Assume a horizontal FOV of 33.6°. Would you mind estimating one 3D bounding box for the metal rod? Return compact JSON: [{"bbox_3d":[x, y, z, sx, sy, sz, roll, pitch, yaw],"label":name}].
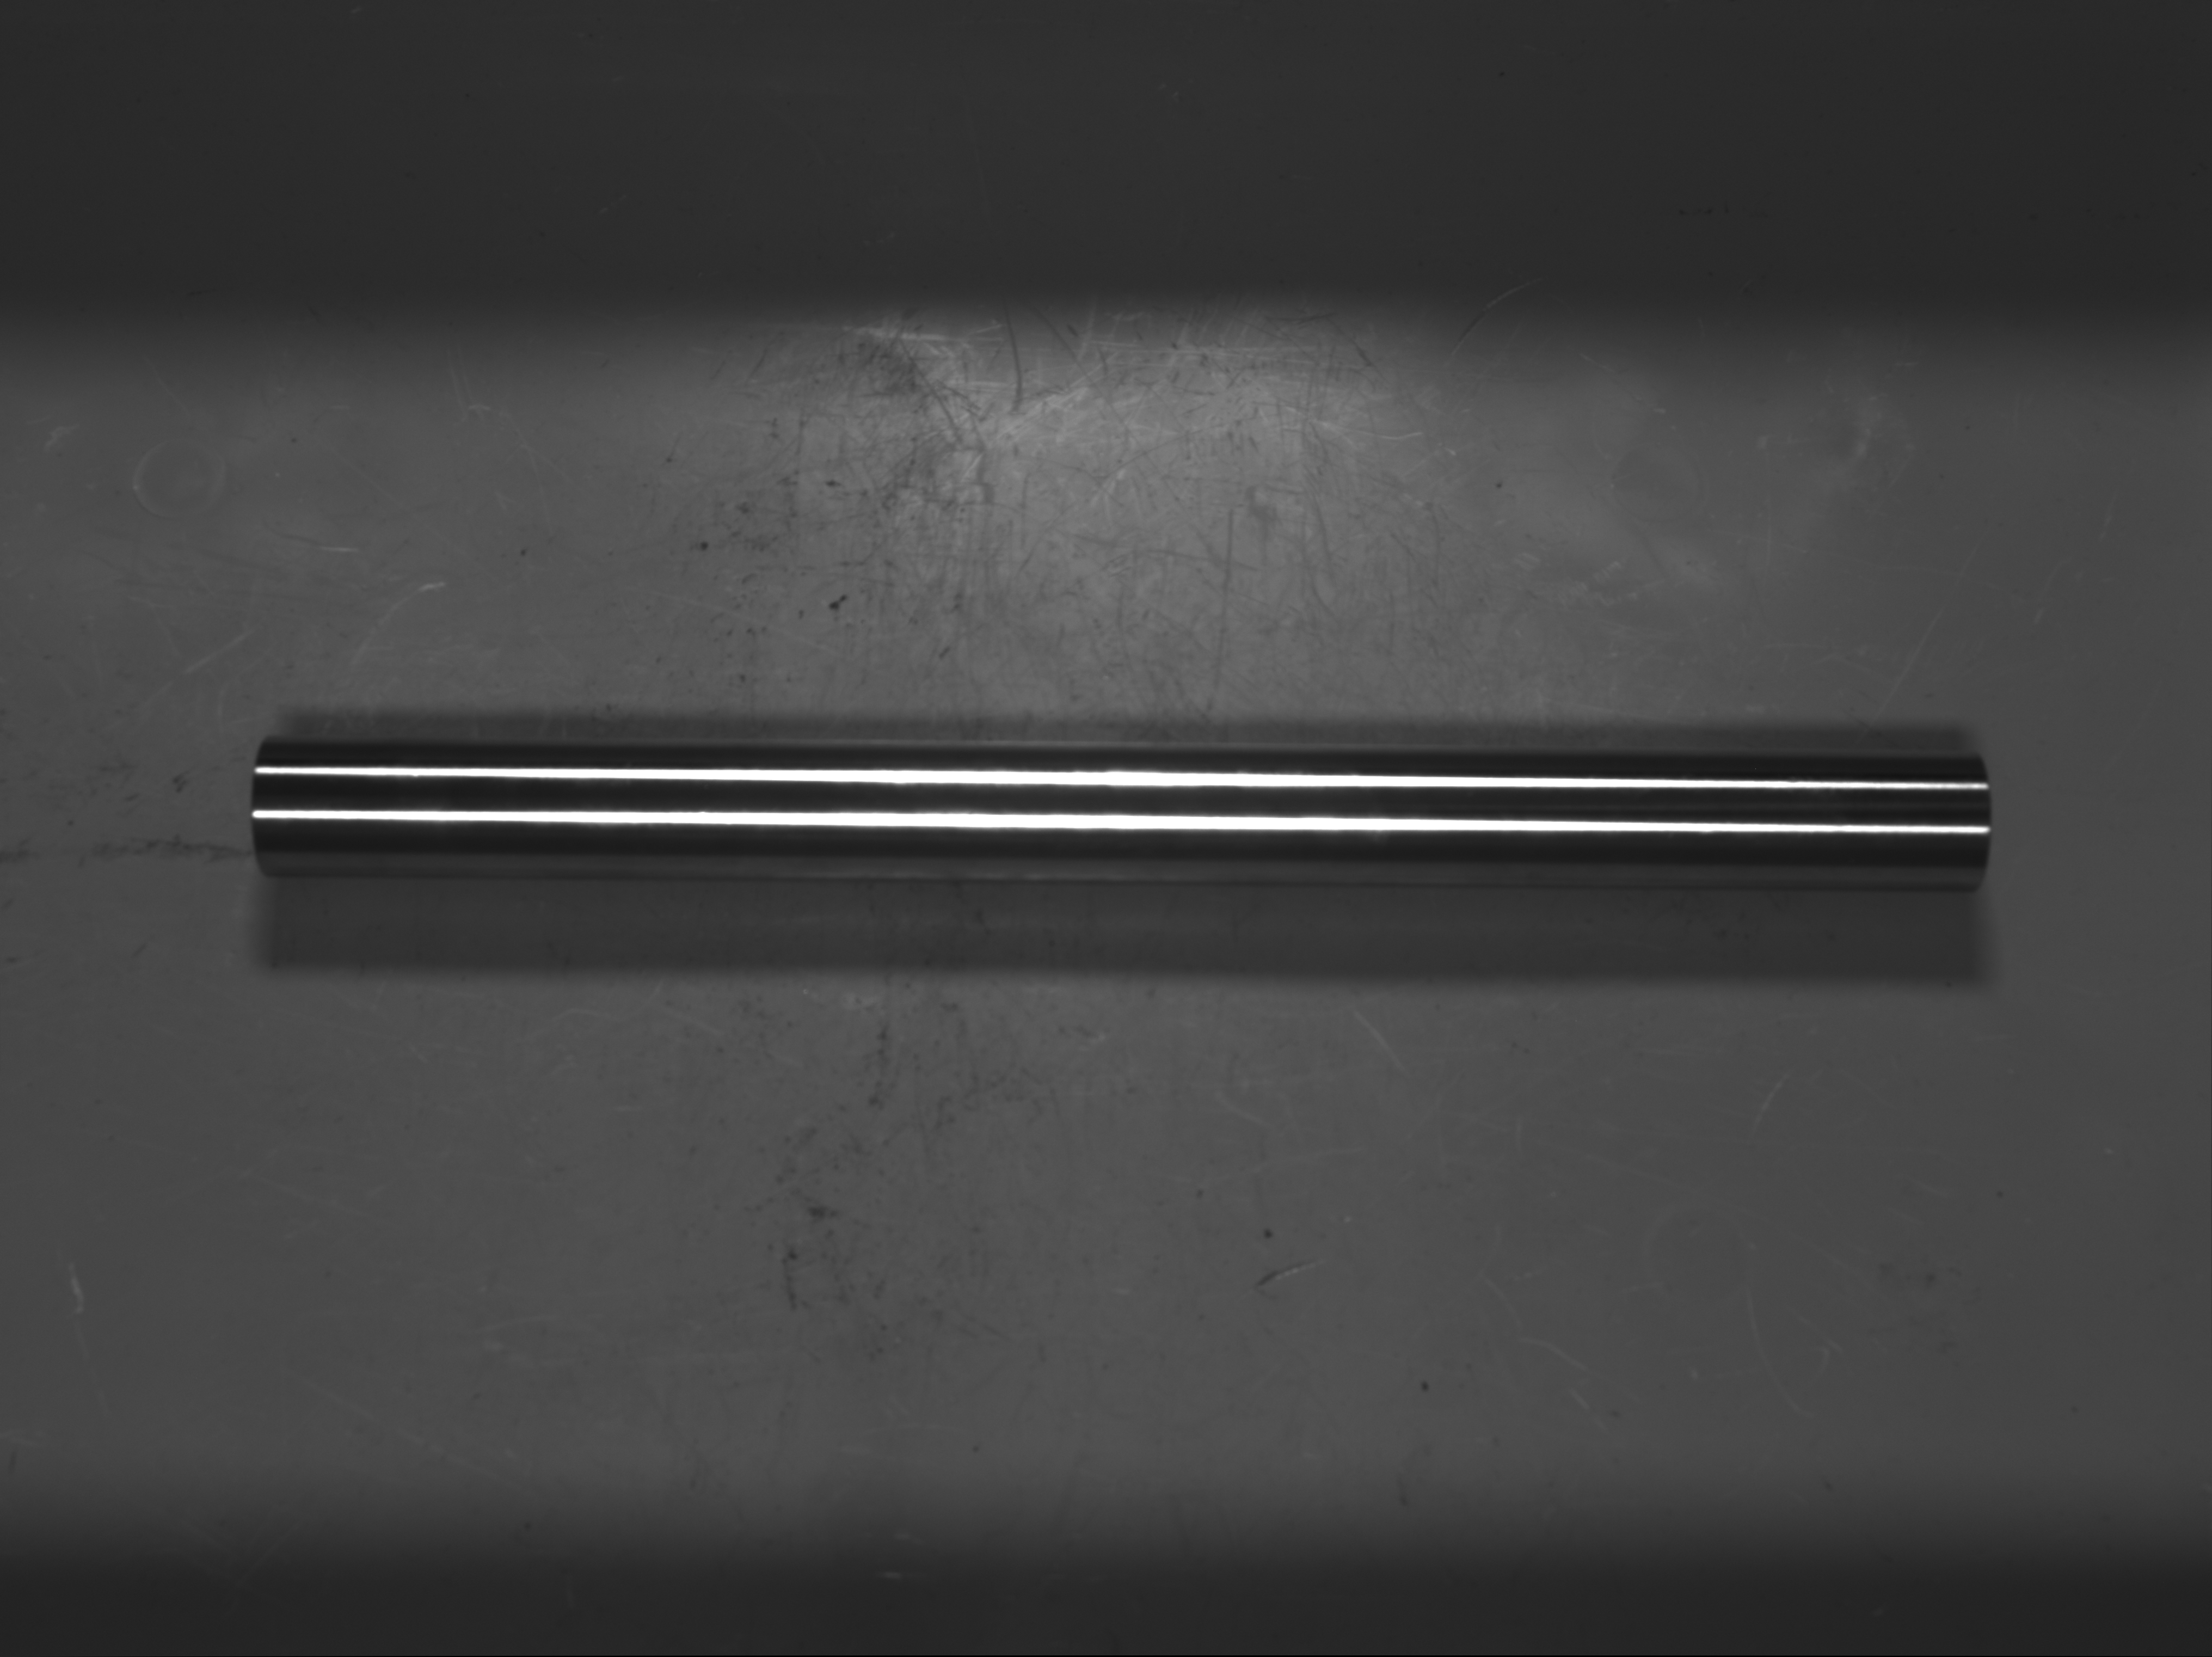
[{"bbox_3d":[0.008,-0.002,0.644,0.300,0.025,0.025,0,70,0],"label":"metal rod"}]
